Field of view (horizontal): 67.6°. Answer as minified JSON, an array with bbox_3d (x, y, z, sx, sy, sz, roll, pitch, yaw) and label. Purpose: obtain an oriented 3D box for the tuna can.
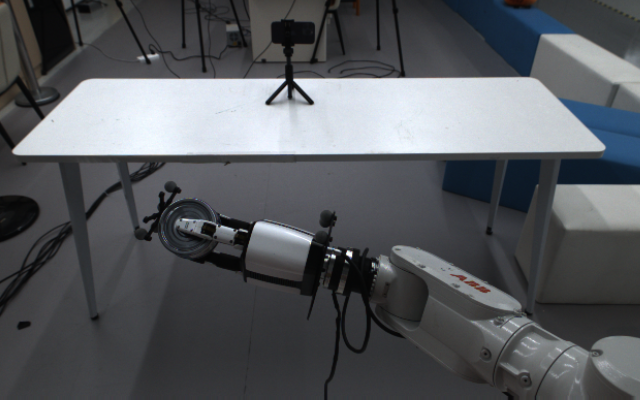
[{"bbox_3d":[-0.186,0.040,0.696,0.085,0.034,0.085,0,75,0],"label":"tuna can"}]
